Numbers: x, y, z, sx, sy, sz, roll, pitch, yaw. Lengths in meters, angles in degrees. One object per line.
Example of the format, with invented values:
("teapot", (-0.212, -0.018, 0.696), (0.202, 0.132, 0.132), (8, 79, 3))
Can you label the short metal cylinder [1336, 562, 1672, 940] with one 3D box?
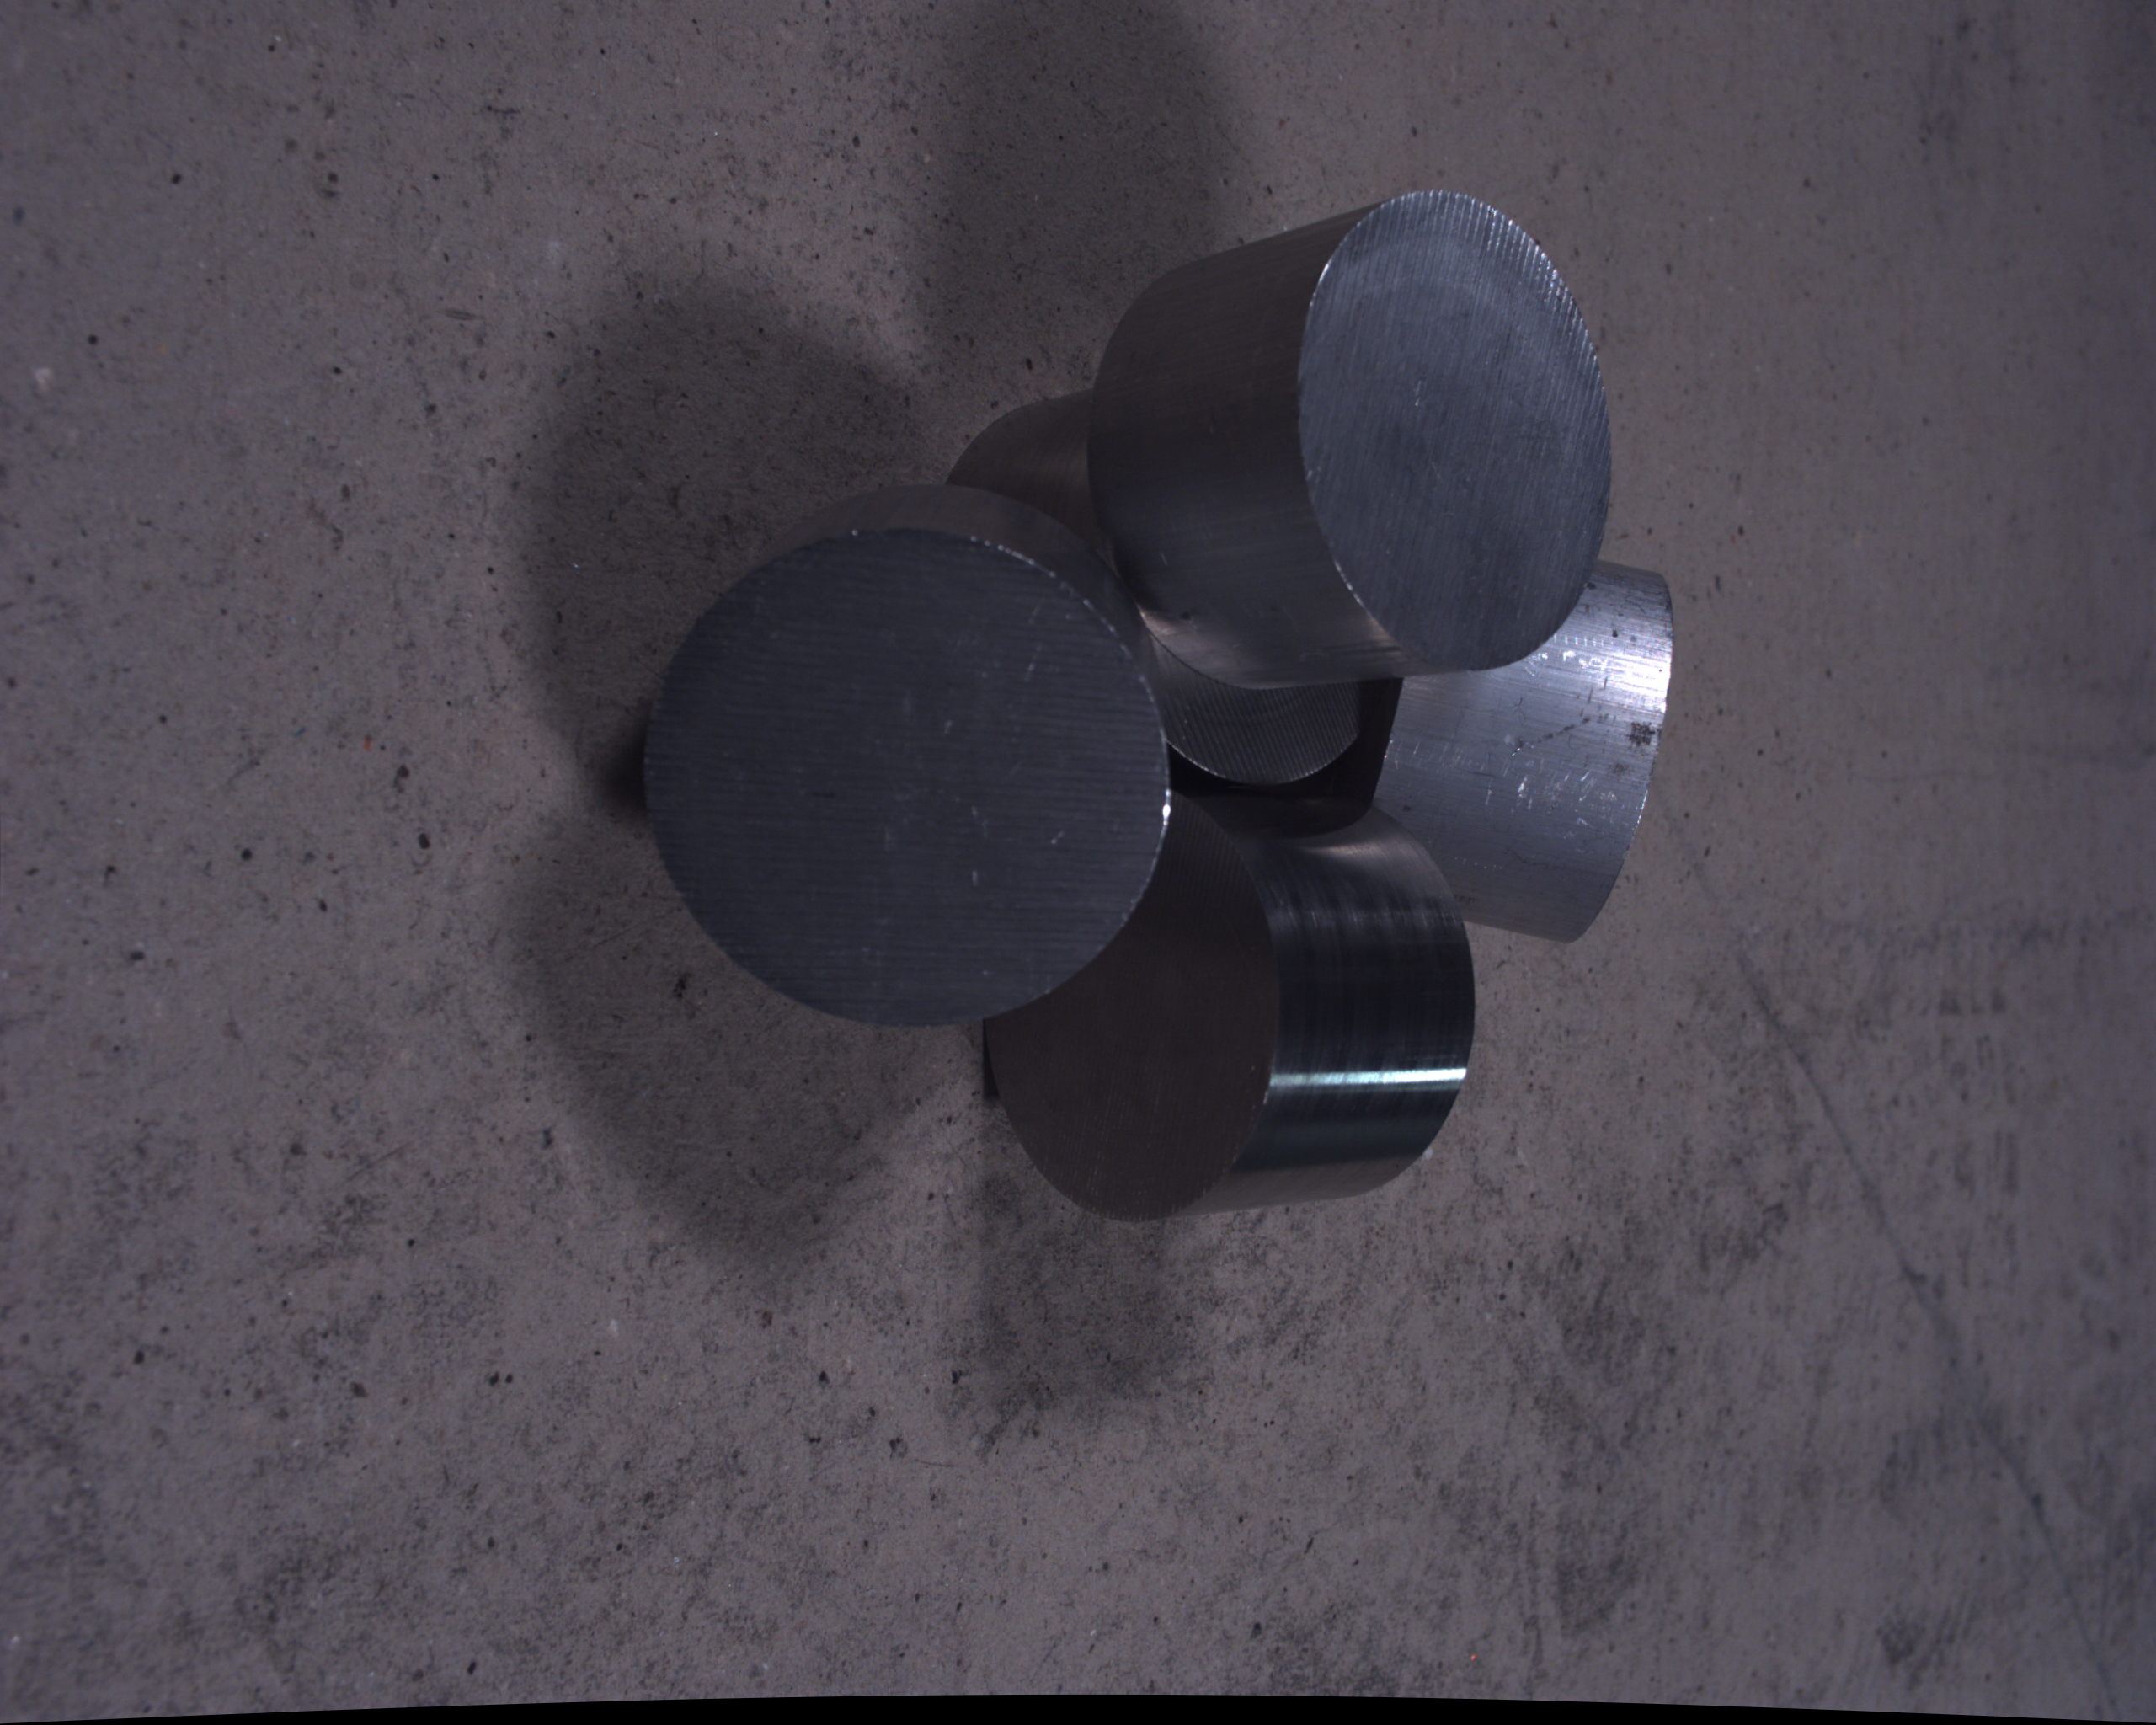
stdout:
("short metal cylinder", (0.086, -0.027, 0.437), (0.050, 0.080, 0.080), (12, 81, -1))

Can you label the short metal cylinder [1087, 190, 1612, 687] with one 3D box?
("short metal cylinder", (0.049, -0.072, 0.366), (0.081, 0.050, 0.079), (0, 90, -40))

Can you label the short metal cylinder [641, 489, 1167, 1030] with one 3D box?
("short metal cylinder", (-0.026, -0.019, 0.343), (0.081, 0.050, 0.079), (0, 107, 1))

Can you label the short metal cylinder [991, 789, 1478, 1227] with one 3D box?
("short metal cylinder", (0.028, 0.027, 0.395), (0.050, 0.080, 0.079), (2, 89, -40))

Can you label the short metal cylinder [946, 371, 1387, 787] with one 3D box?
("short metal cylinder", (0.018, -0.054, 0.407), (0.081, 0.050, 0.079), (0, 90, -40))
